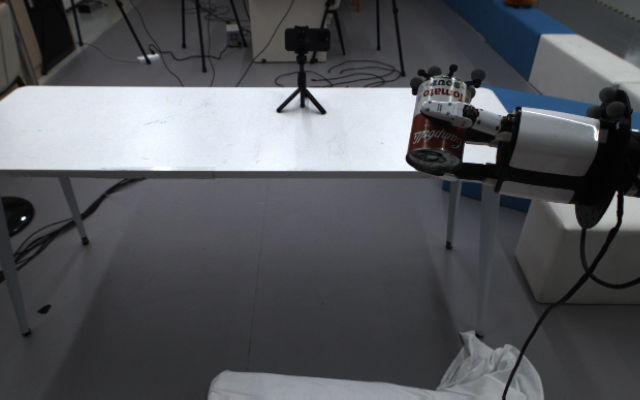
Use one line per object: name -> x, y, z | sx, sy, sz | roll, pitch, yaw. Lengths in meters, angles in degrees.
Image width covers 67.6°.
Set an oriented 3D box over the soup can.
soup can -> 0.148, -0.095, 0.600 | 0.067, 0.067, 0.101 | 9, 72, 10
